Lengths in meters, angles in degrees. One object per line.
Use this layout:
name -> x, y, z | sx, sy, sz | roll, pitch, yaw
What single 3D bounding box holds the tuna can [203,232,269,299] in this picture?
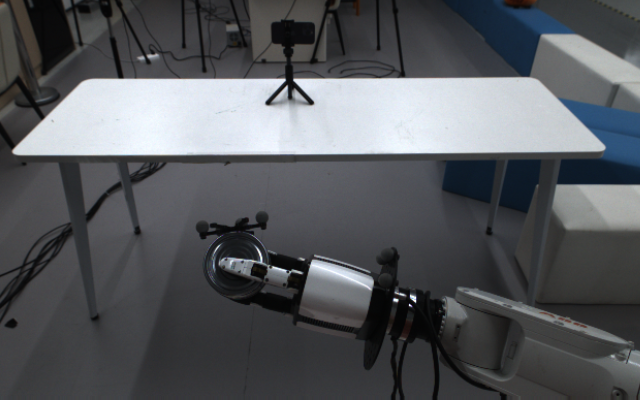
tuna can -> -0.103, 0.090, 0.625 | 0.085, 0.034, 0.085 | 0, 72, -1
